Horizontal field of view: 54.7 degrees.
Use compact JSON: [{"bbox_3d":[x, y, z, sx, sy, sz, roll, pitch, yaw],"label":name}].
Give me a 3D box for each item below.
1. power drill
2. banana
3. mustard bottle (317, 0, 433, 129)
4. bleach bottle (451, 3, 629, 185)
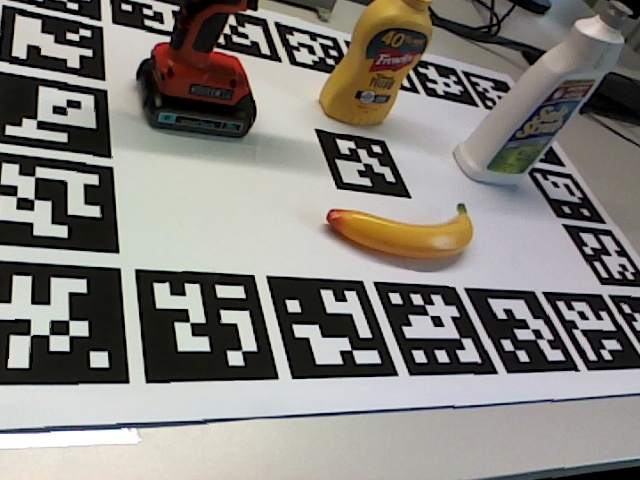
[{"bbox_3d":[-0.063,-0.218,0.605,0.183,0.187,0.057,-3,52,-29],"label":"power drill"},{"bbox_3d":[0.103,-0.016,0.657,0.196,0.039,0.074,-2,53,-29],"label":"banana"},{"bbox_3d":[0.078,-0.222,0.741,0.095,0.192,0.059,-2,52,-35],"label":"mustard bottle"},{"bbox_3d":[0.275,-0.179,0.771,0.102,0.251,0.068,11,46,-23],"label":"bleach bottle"}]
